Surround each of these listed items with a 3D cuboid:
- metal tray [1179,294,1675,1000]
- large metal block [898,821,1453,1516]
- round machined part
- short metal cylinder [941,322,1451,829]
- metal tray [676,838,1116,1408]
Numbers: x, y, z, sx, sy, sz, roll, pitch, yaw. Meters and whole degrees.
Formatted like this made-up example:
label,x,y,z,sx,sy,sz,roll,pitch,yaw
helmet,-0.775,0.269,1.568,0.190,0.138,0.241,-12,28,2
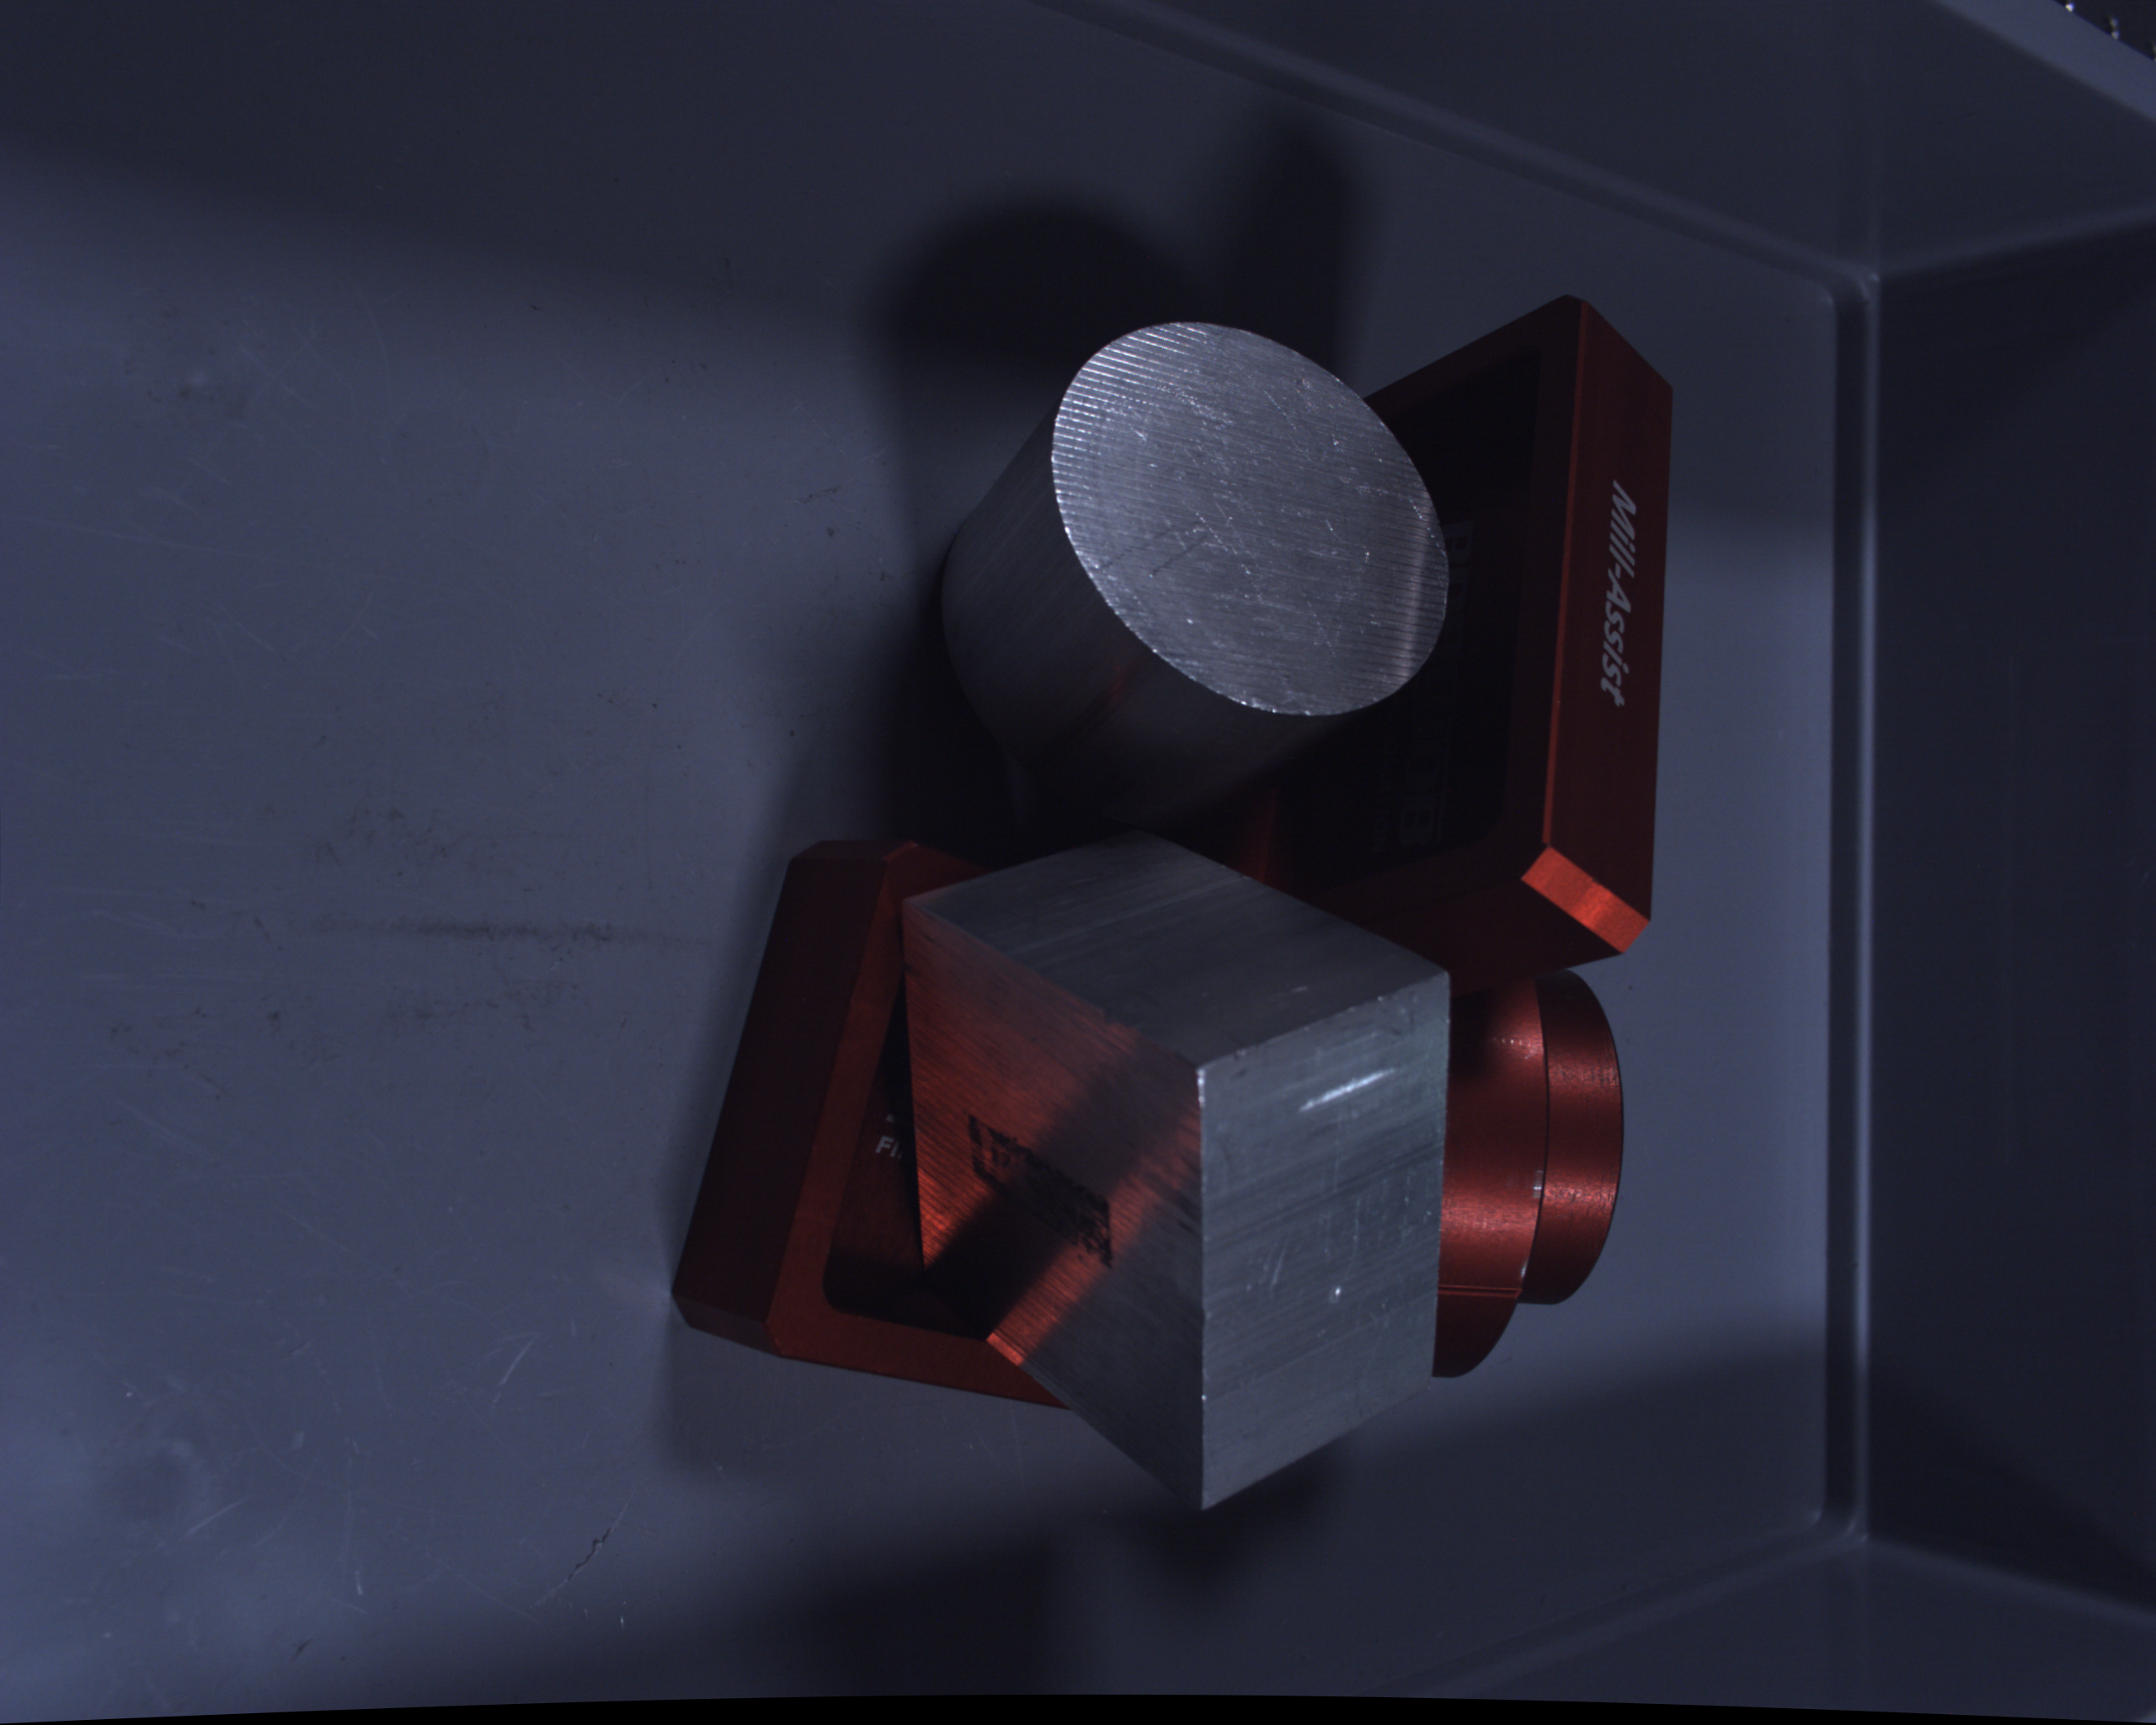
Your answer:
label,x,y,z,sx,sy,sz,roll,pitch,yaw
metal tray,0.065,-0.036,0.399,0.030,0.090,0.130,32,54,-33
large metal block,0.015,0.047,0.353,0.050,0.080,0.079,-18,117,-33
round machined part,0.077,0.054,0.419,0.042,0.098,0.097,5,86,-10
short metal cylinder,0.021,-0.053,0.389,0.081,0.050,0.080,12,63,-23
metal tray,-0.004,0.056,0.399,0.131,0.030,0.090,22,76,-38
